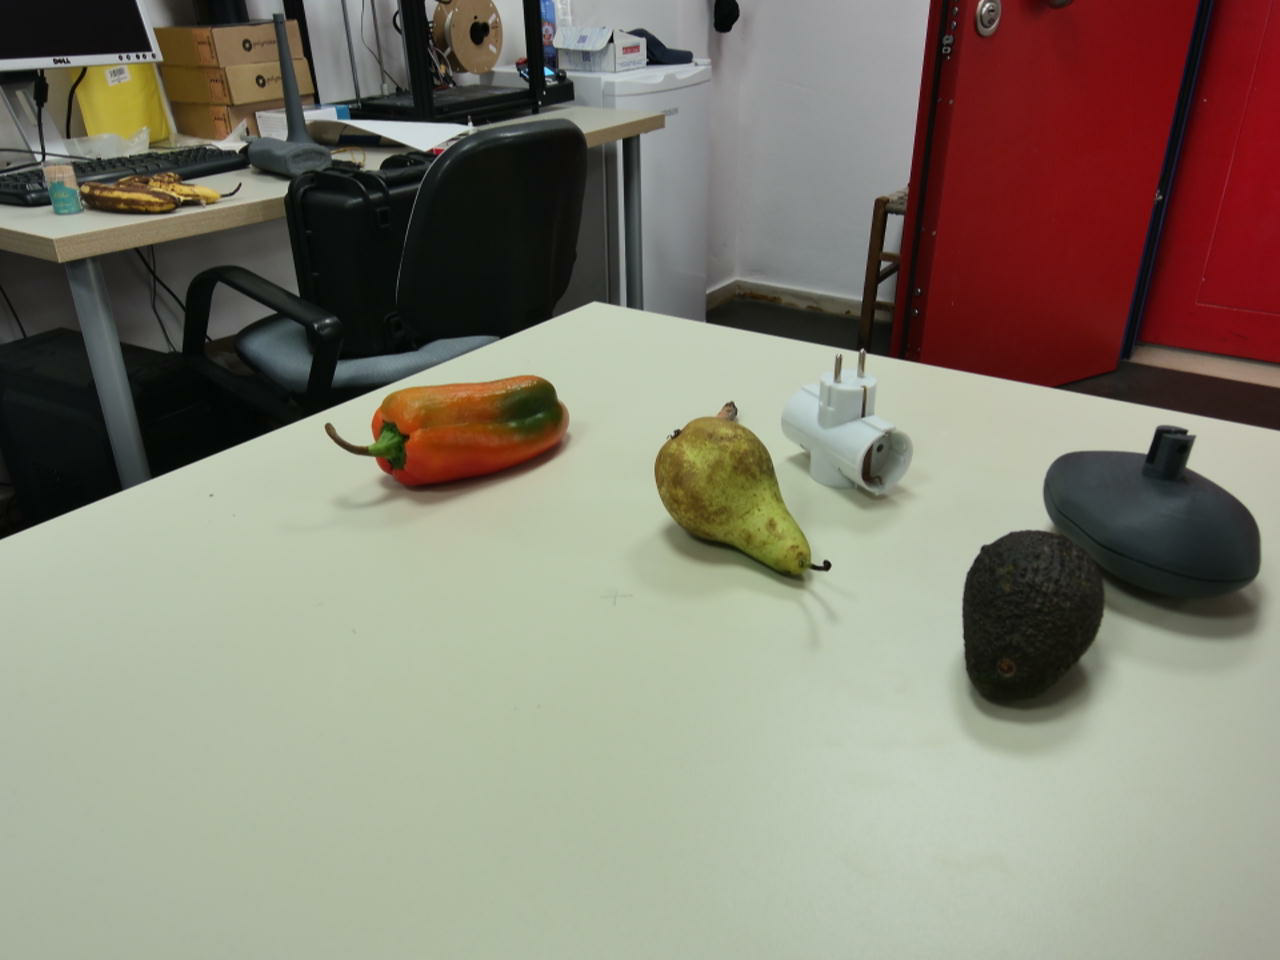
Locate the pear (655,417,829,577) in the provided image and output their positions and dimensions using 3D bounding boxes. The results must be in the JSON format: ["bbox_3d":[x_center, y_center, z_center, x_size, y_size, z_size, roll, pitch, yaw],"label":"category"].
[{"bbox_3d":[0.070,0.008,0.590,0.144,0.075,0.071,21,33,38],"label":"pear"}]
